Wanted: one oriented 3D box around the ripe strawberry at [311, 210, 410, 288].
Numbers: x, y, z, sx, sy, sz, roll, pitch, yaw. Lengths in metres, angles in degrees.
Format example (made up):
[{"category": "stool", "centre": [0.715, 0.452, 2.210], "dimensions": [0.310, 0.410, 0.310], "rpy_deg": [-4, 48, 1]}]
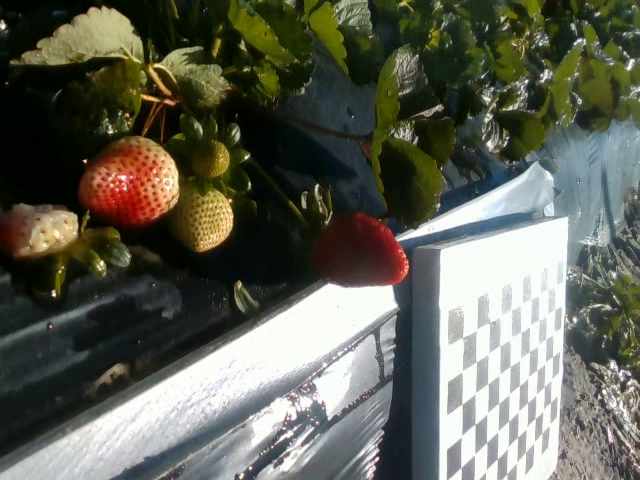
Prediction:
[{"category": "ripe strawberry", "centre": [0.018, 0.007, 0.242], "dimensions": [0.045, 0.038, 0.036], "rpy_deg": [23, 23, 37]}]
